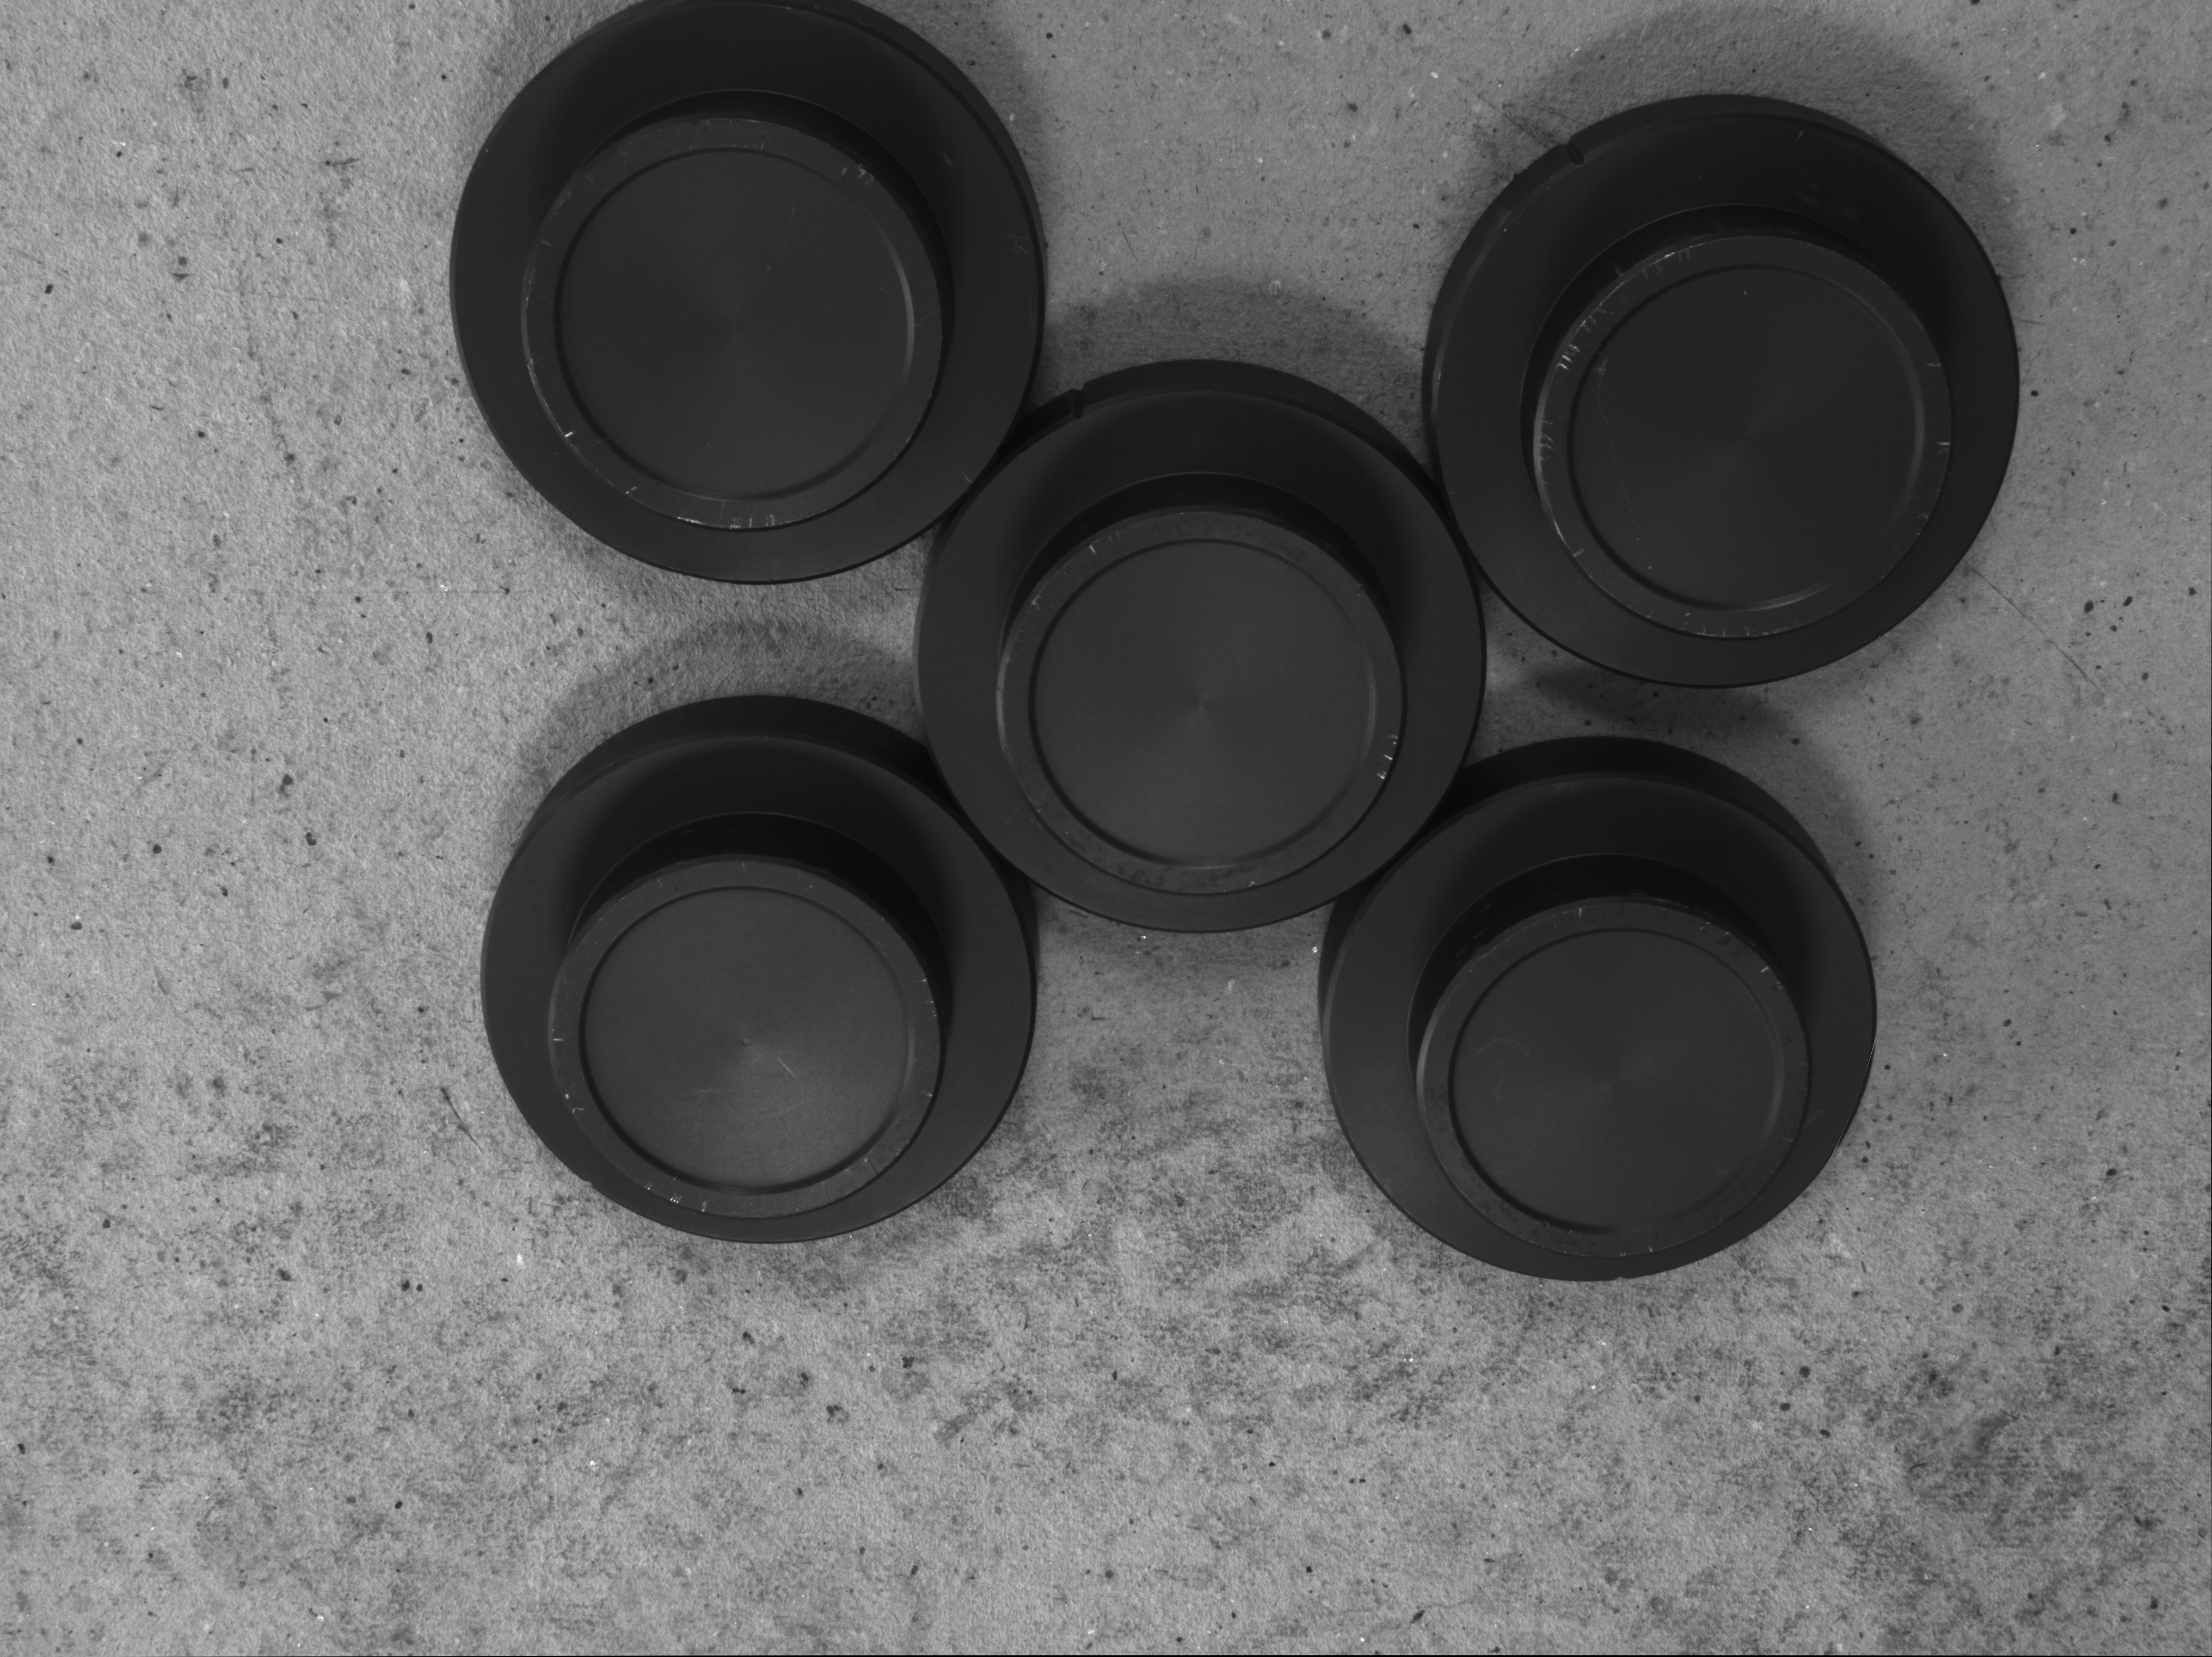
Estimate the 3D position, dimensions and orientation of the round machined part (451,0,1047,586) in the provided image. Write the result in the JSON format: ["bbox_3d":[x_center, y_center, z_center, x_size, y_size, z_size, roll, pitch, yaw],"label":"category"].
[{"bbox_3d":[-0.059,-0.087,0.603,0.098,0.042,0.098,0,110,0],"label":"round machined part"}]

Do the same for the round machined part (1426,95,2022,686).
[{"bbox_3d":[0.103,-0.069,0.609,0.098,0.042,0.098,0,112,1],"label":"round machined part"}]

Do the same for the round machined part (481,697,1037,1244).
[{"bbox_3d":[-0.061,0.030,0.645,0.098,0.042,0.098,0,111,0],"label":"round machined part"}]

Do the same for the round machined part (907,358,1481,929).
[{"bbox_3d":[0.015,-0.027,0.625,0.098,0.042,0.098,0,112,1],"label":"round machined part"}]

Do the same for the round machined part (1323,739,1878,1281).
[{"bbox_3d":[0.087,0.037,0.648,0.098,0.042,0.098,0,112,1],"label":"round machined part"}]
